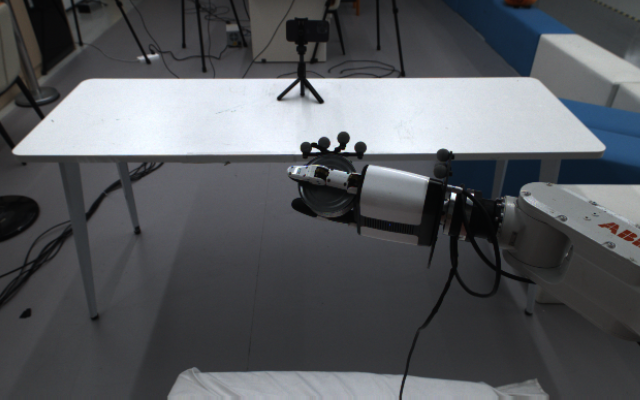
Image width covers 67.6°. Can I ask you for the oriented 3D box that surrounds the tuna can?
[{"bbox_3d":[0.014,-0.020,0.683,0.085,0.034,0.085,-3,73,10],"label":"tuna can"}]
